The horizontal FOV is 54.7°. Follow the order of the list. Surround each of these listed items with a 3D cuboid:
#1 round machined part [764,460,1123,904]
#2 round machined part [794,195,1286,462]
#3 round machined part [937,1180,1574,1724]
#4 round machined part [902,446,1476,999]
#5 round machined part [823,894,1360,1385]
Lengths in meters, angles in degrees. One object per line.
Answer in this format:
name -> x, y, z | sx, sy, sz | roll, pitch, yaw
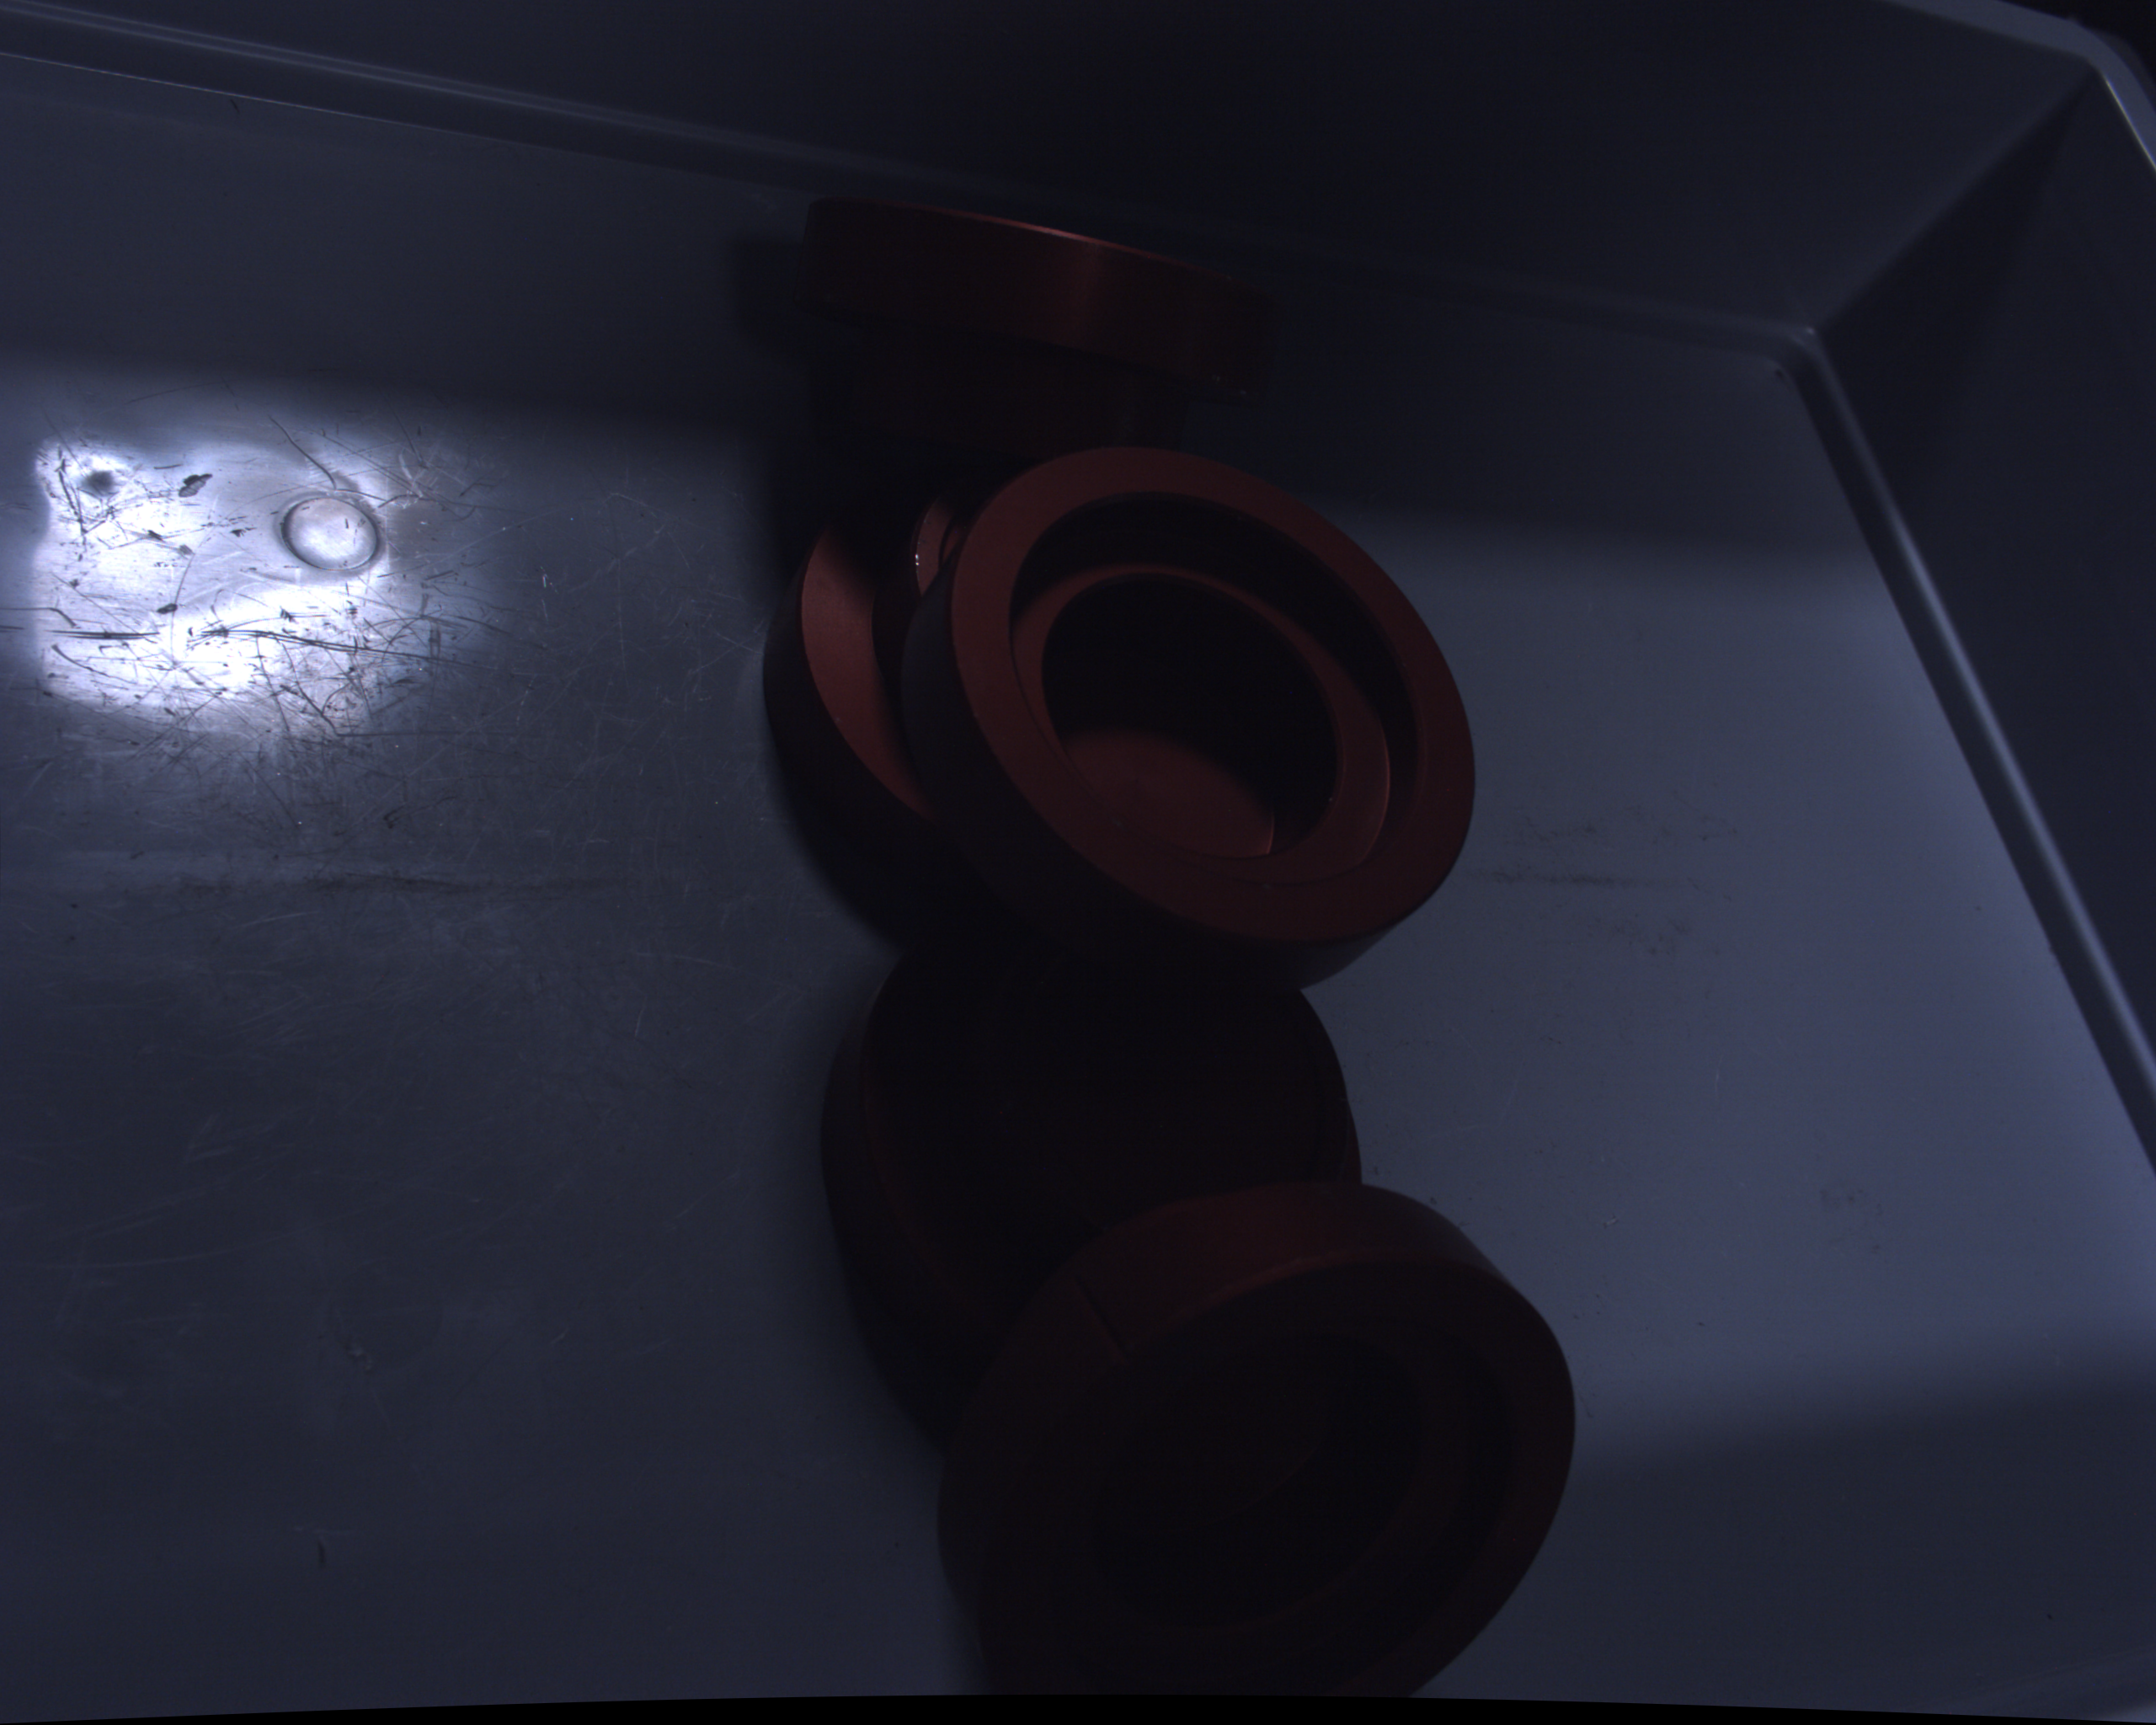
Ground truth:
round machined part -> -0.009, -0.040, 0.414 | 0.099, 0.042, 0.098 | 14, 56, -21
round machined part -> -0.010, -0.104, 0.429 | 0.099, 0.098, 0.042 | 7, 101, -25
round machined part -> 0.025, 0.091, 0.329 | 0.099, 0.097, 0.042 | 6, 21, -26
round machined part -> 0.016, -0.020, 0.360 | 0.099, 0.042, 0.098 | 14, 56, -21
round machined part -> 0.008, 0.046, 0.370 | 0.099, 0.042, 0.098 | 14, 56, -21
